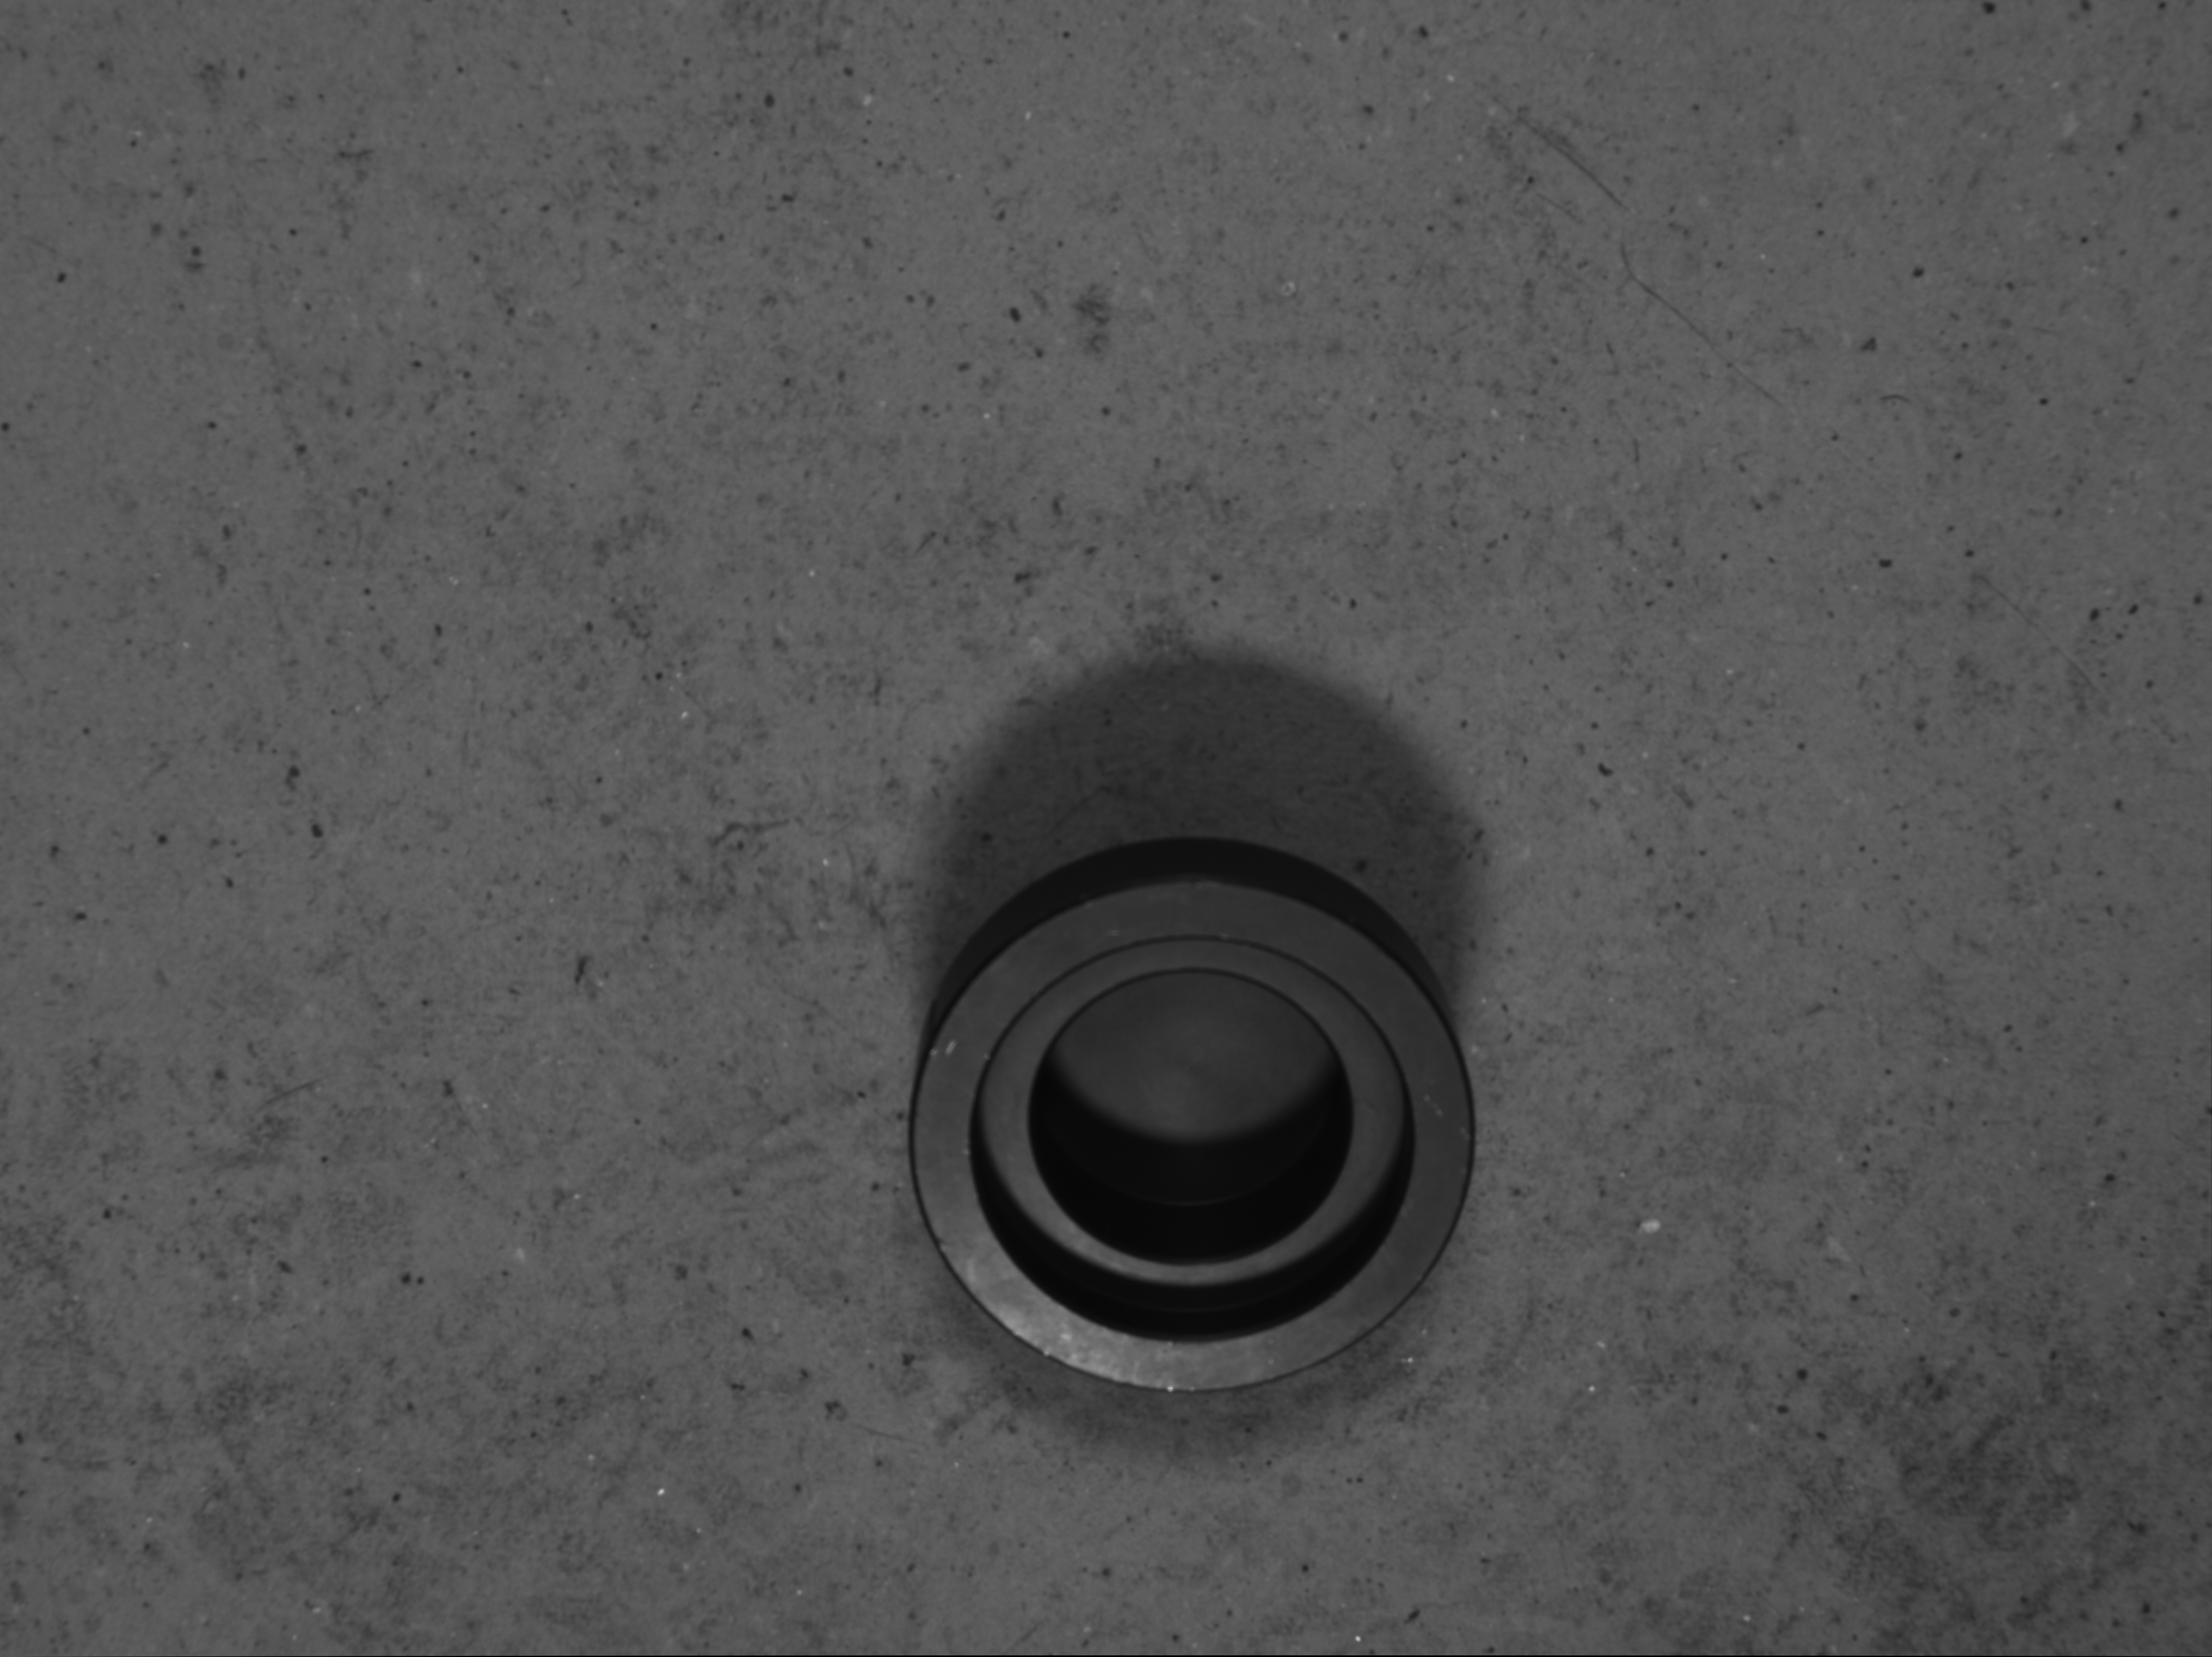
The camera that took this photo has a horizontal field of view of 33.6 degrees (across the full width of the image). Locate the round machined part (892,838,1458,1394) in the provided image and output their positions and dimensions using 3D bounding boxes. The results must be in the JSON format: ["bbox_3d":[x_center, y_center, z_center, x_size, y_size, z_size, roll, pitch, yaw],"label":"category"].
[{"bbox_3d":[0.012,0.047,0.651,0.098,0.042,0.098,0,110,-1],"label":"round machined part"}]
